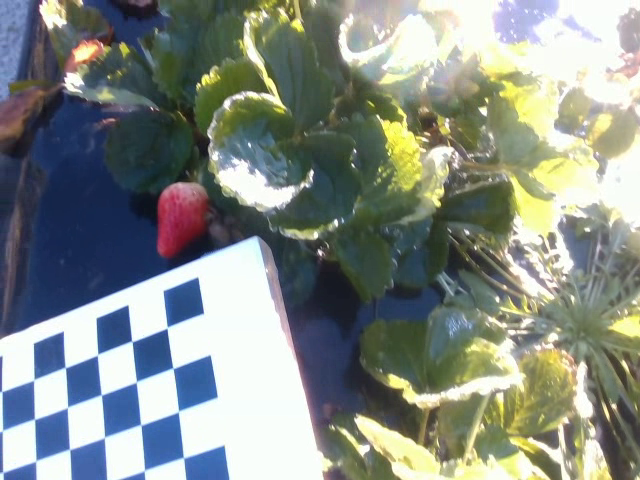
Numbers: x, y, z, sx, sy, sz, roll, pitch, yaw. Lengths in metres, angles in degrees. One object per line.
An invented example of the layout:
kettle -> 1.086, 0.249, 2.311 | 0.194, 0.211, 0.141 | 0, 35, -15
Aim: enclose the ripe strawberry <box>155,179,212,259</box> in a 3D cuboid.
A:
ripe strawberry -> -0.111, -0.018, 0.431 | 0.040, 0.065, 0.040 | 20, -14, 25
